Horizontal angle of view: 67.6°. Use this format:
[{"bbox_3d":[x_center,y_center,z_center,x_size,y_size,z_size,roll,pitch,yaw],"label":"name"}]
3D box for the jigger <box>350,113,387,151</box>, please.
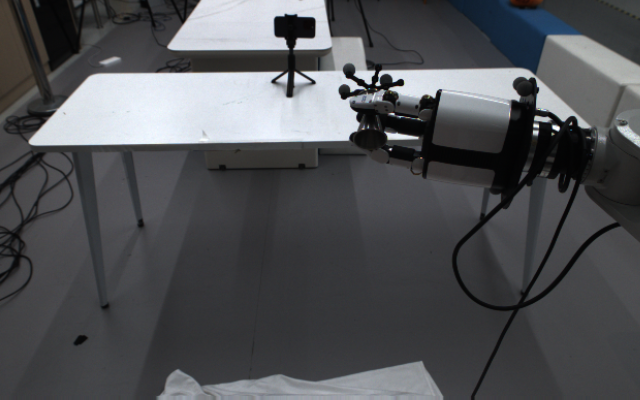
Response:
[{"bbox_3d":[0.064,-0.108,0.627,0.043,0.043,0.071,4,61,2],"label":"jigger"}]
